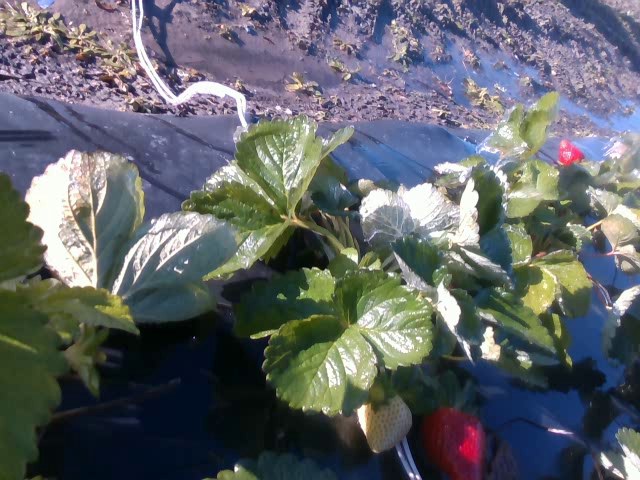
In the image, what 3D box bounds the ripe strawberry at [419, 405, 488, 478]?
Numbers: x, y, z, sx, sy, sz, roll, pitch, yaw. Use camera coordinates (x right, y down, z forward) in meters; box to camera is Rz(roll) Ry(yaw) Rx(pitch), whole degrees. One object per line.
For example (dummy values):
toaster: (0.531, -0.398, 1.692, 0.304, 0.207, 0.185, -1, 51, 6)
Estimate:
ripe strawberry: (0.107, 0.148, 0.416, 0.040, 0.062, 0.080, -27, 27, 10)
